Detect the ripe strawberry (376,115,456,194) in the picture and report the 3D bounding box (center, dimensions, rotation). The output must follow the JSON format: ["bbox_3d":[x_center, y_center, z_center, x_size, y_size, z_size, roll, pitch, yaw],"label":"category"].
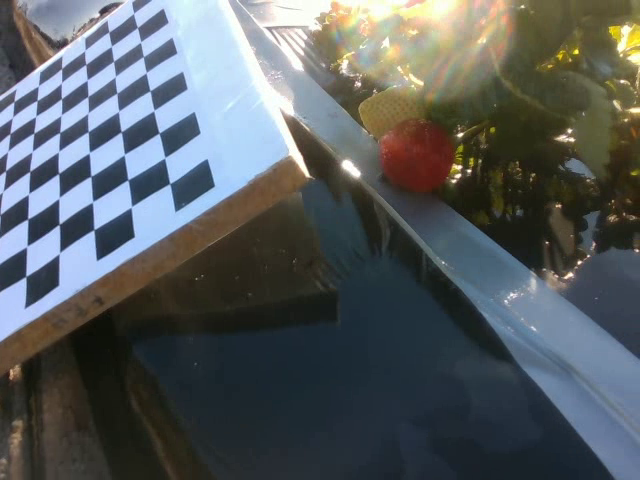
[{"bbox_3d":[0.047,-0.048,0.342,0.045,0.049,0.063,-16,-13,27],"label":"ripe strawberry"}]
